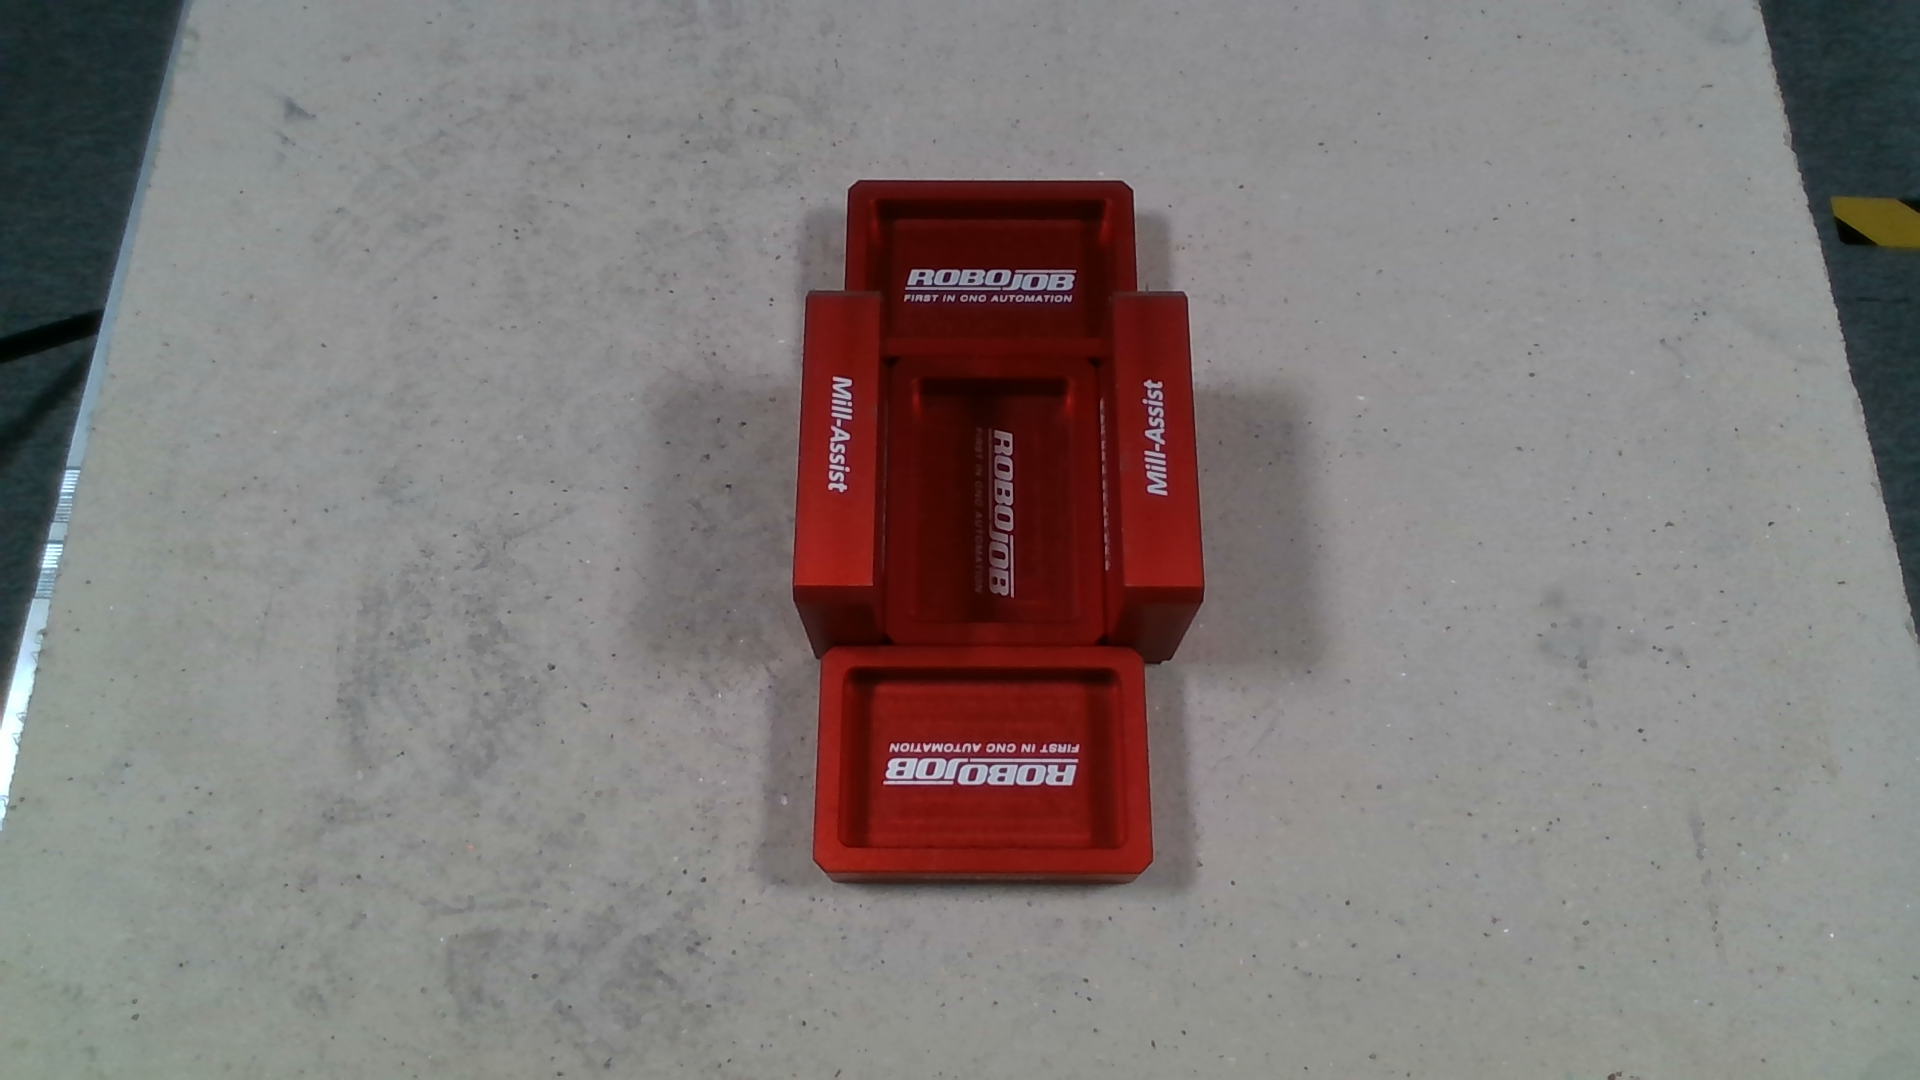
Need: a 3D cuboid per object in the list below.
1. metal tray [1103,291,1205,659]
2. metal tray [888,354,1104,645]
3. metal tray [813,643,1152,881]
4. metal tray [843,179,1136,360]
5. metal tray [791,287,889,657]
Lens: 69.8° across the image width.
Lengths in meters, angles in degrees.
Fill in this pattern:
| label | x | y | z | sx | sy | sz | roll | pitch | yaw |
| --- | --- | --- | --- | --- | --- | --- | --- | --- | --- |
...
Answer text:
| label | x | y | z | sx | sy | sz | roll | pitch | yaw |
| --- | --- | --- | --- | --- | --- | --- | --- | --- | --- |
| metal tray | 0.074 | -0.025 | 0.563 | 0.030 | 0.090 | 0.130 | 0 | 70 | 0 |
| metal tray | 0.014 | -0.015 | 0.591 | 0.090 | 0.030 | 0.130 | 1 | 70 | 0 |
| metal tray | 0.009 | 0.089 | 0.554 | 0.130 | 0.030 | 0.090 | 0 | 70 | 0 |
| metal tray | 0.013 | -0.118 | 0.628 | 0.130 | 0.030 | 0.090 | 0 | 70 | 0 |
| metal tray | -0.046 | -0.025 | 0.561 | 0.030 | 0.090 | 0.130 | 0 | 70 | 0 |
